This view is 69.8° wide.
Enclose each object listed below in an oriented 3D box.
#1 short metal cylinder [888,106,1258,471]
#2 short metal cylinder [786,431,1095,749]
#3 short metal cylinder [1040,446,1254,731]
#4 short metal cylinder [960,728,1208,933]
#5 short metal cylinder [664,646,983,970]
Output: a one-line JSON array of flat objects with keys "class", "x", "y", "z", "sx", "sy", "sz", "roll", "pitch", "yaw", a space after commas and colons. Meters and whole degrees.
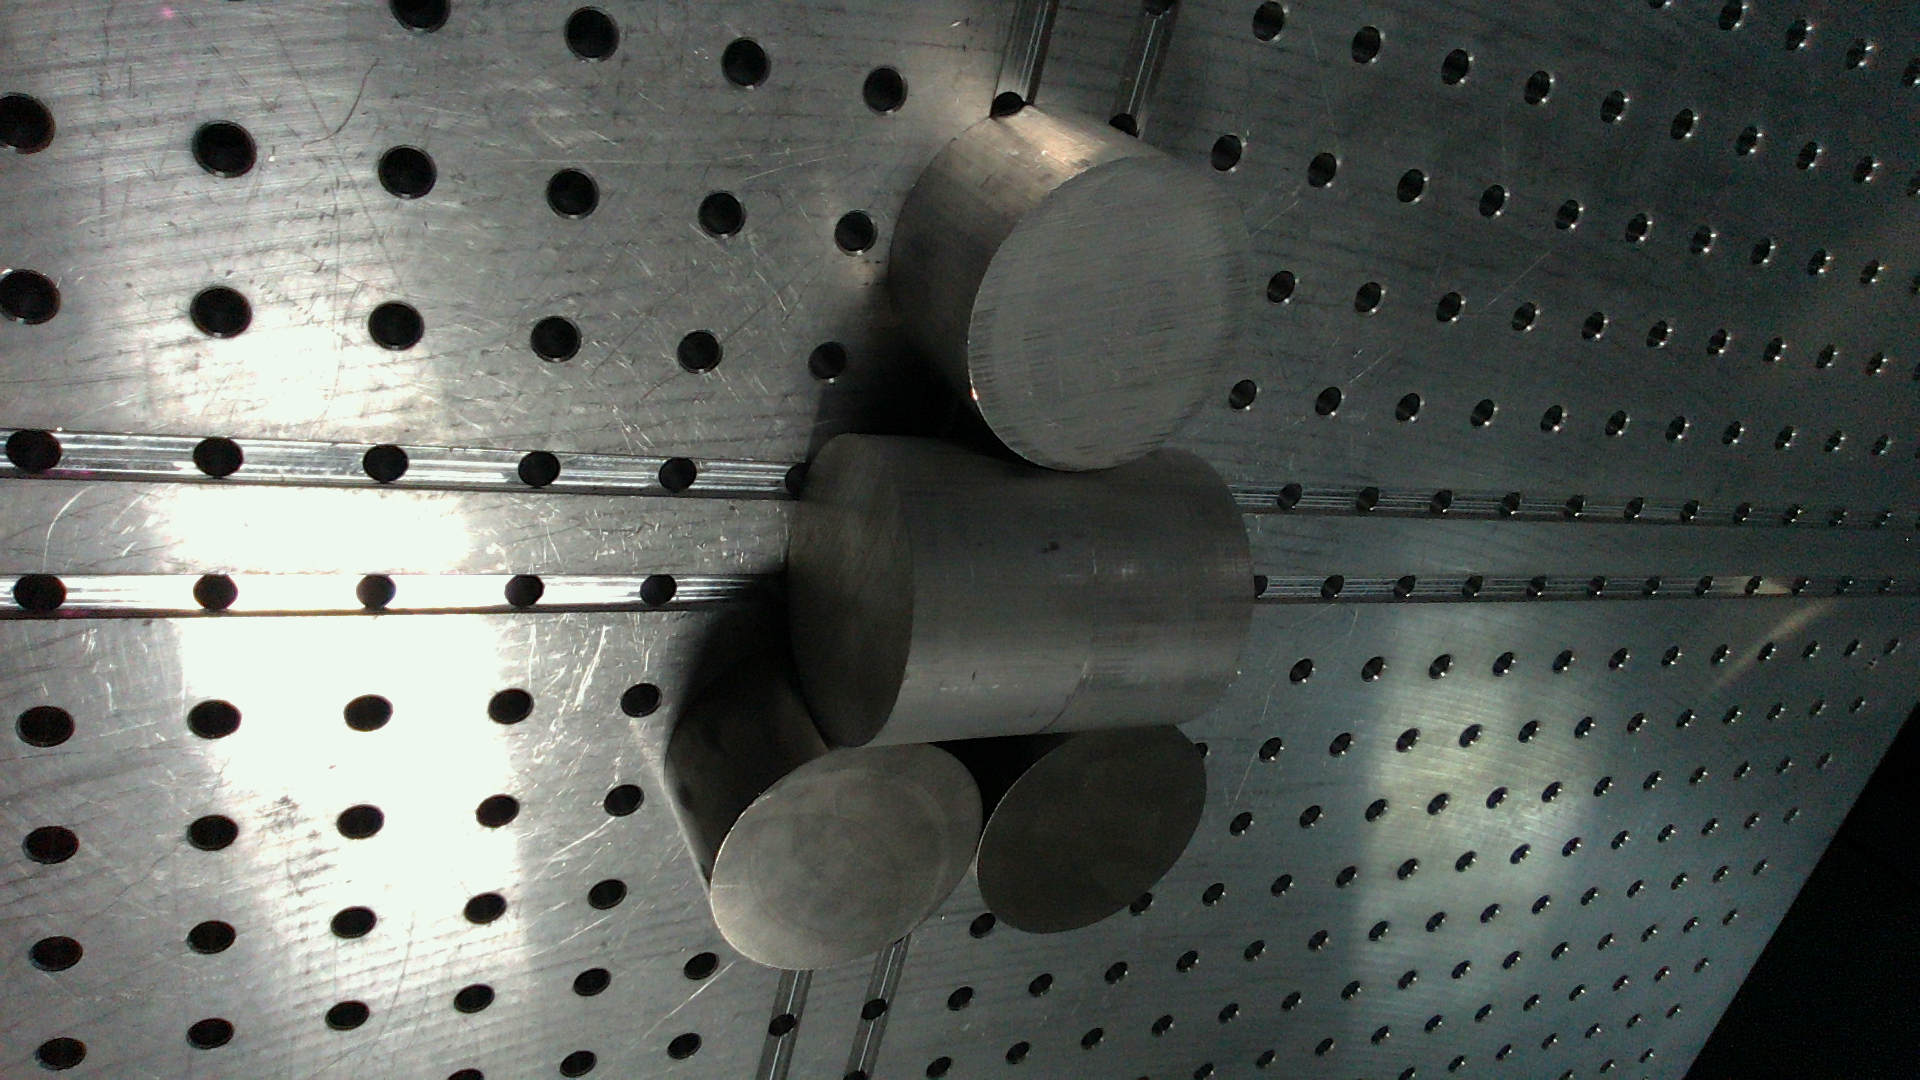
[{"class": "short metal cylinder", "x": 0.028, "y": -0.065, "z": 0.351, "sx": 0.080, "sy": 0.050, "sz": 0.080, "roll": -14, "pitch": 124, "yaw": -21}, {"class": "short metal cylinder", "x": -0.008, "y": 0.013, "z": 0.361, "sx": 0.050, "sy": 0.080, "sz": 0.080, "roll": 0, "pitch": 118, "yaw": -28}, {"class": "short metal cylinder", "x": 0.036, "y": 0.012, "z": 0.385, "sx": 0.050, "sy": 0.080, "sz": 0.080, "roll": 0, "pitch": 118, "yaw": -28}, {"class": "short metal cylinder", "x": 0.031, "y": 0.077, "z": 0.438, "sx": 0.080, "sy": 0.050, "sz": 0.080, "roll": -14, "pitch": 124, "yaw": -21}, {"class": "short metal cylinder", "x": -0.040, "y": 0.077, "z": 0.400, "sx": 0.080, "sy": 0.050, "sz": 0.080, "roll": -14, "pitch": 124, "yaw": -21}]
